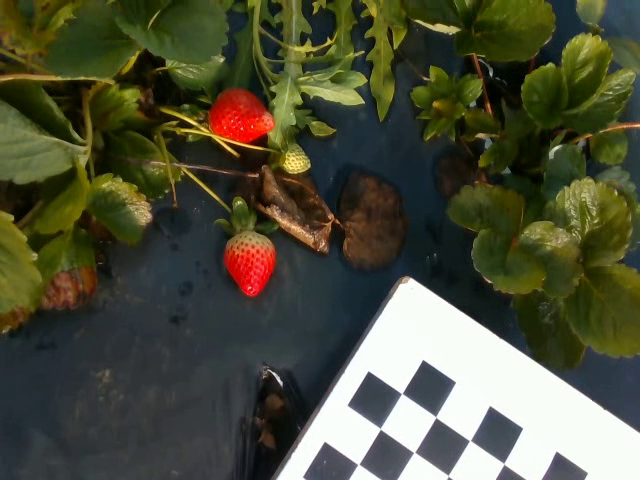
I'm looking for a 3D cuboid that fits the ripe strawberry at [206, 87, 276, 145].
[{"bbox_3d":[-0.046,-0.077,0.391,0.048,0.040,0.031,13,-10,38],"label":"ripe strawberry"}]

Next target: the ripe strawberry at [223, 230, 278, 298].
[{"bbox_3d":[-0.043,0.014,0.384,0.035,0.043,0.030,-3,-10,-7],"label":"ripe strawberry"}]
